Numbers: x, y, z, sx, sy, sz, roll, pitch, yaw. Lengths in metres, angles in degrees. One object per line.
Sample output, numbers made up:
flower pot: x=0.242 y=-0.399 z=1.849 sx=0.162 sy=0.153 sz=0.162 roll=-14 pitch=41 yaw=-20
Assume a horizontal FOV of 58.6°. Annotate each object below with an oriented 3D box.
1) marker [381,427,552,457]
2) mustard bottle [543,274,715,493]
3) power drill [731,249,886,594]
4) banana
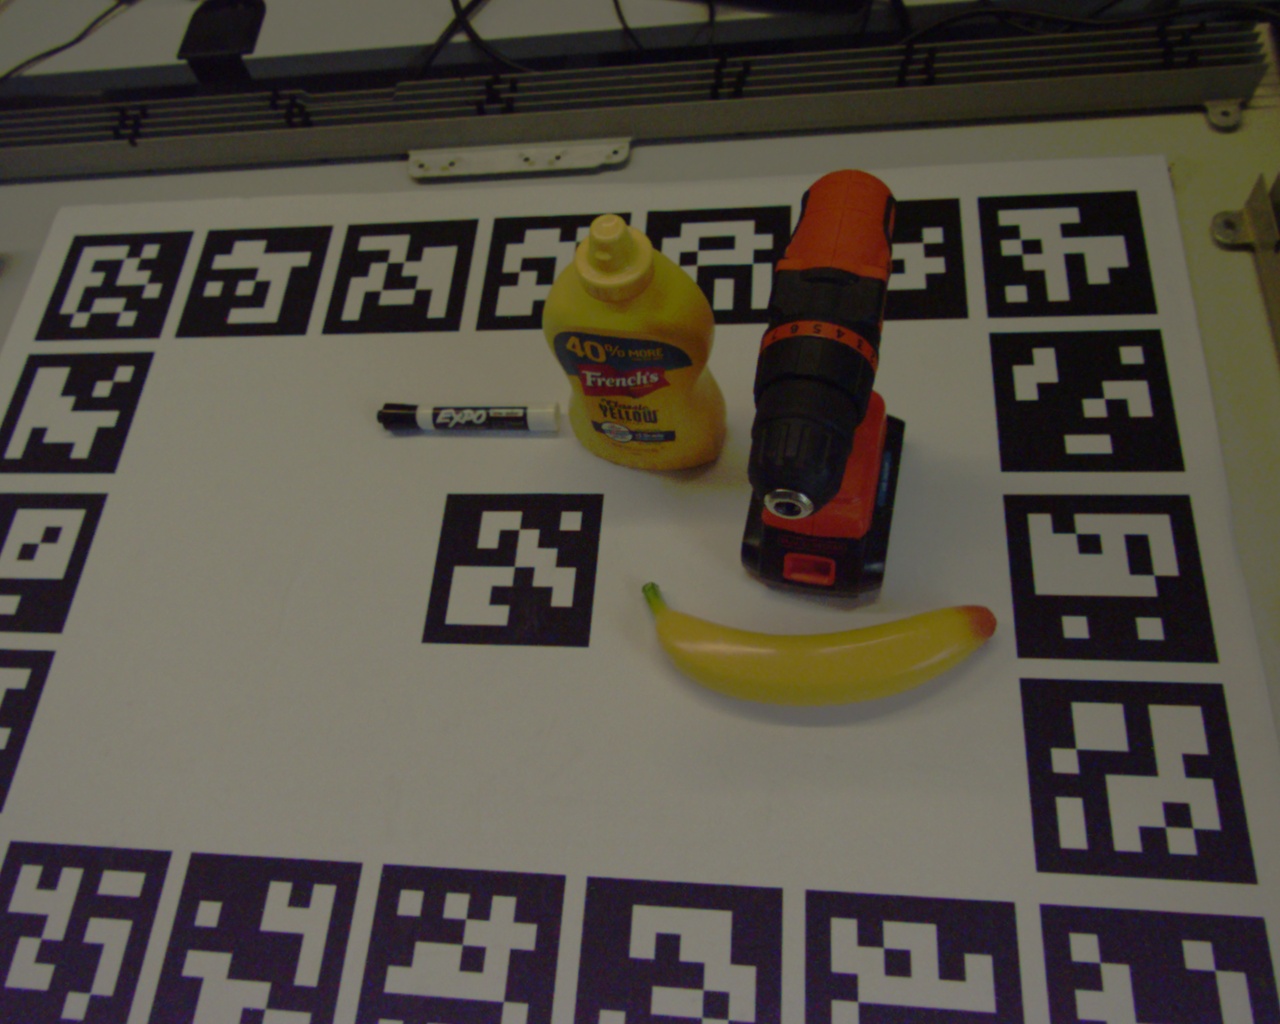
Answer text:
marker: x=-0.122 y=-0.049 z=0.793 sx=0.122 sy=0.019 sz=0.020 roll=2 pitch=65 yaw=11
mustard bottle: x=-0.008 y=-0.079 z=0.691 sx=0.097 sy=0.190 sz=0.058 roll=11 pitch=66 yaw=12
power drill: x=0.090 y=-0.028 z=0.630 sx=0.058 sy=0.186 sz=0.184 roll=13 pitch=64 yaw=13
banana: x=0.087 y=0.093 z=0.678 sx=0.199 sy=0.038 sz=0.074 roll=7 pitch=67 yaw=15
